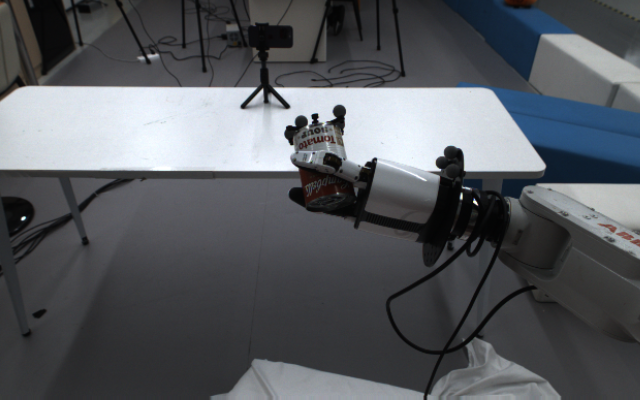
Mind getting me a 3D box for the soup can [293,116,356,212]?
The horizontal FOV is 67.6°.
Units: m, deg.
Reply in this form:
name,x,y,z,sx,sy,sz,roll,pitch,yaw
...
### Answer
name,x,y,z,sx,sy,sz,roll,pitch,yaw
soup can,0.005,-0.043,0.640,0.067,0.067,0.101,-8,74,-14
